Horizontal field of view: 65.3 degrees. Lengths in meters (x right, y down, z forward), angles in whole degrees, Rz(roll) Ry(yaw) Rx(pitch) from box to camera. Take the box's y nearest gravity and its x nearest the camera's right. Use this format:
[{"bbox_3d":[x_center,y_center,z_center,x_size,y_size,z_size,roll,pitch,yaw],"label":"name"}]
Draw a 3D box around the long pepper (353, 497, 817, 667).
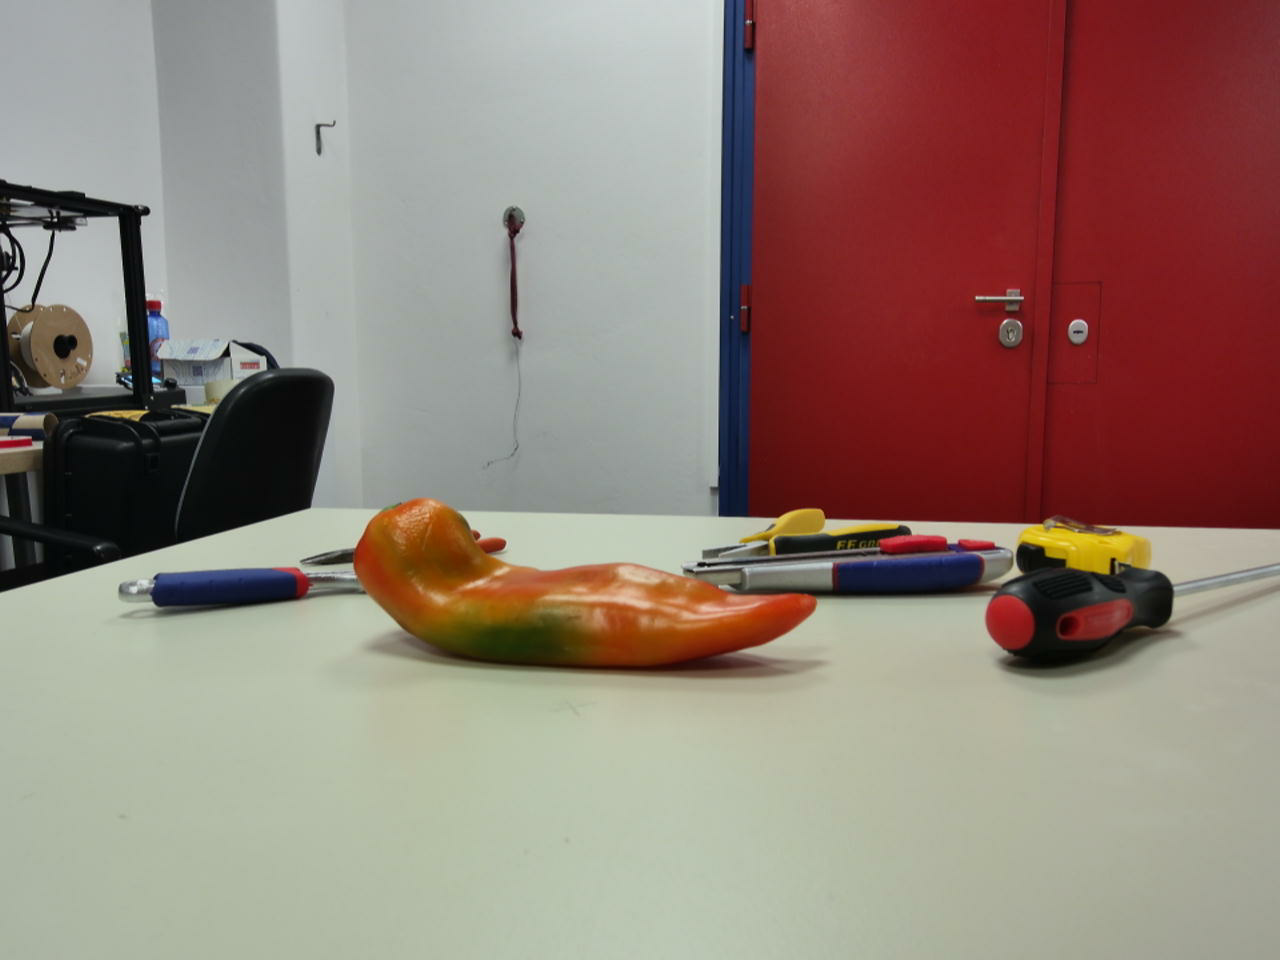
[{"bbox_3d":[-0.027,0.042,0.418,0.199,0.065,0.066,1,4,18],"label":"long pepper"}]
